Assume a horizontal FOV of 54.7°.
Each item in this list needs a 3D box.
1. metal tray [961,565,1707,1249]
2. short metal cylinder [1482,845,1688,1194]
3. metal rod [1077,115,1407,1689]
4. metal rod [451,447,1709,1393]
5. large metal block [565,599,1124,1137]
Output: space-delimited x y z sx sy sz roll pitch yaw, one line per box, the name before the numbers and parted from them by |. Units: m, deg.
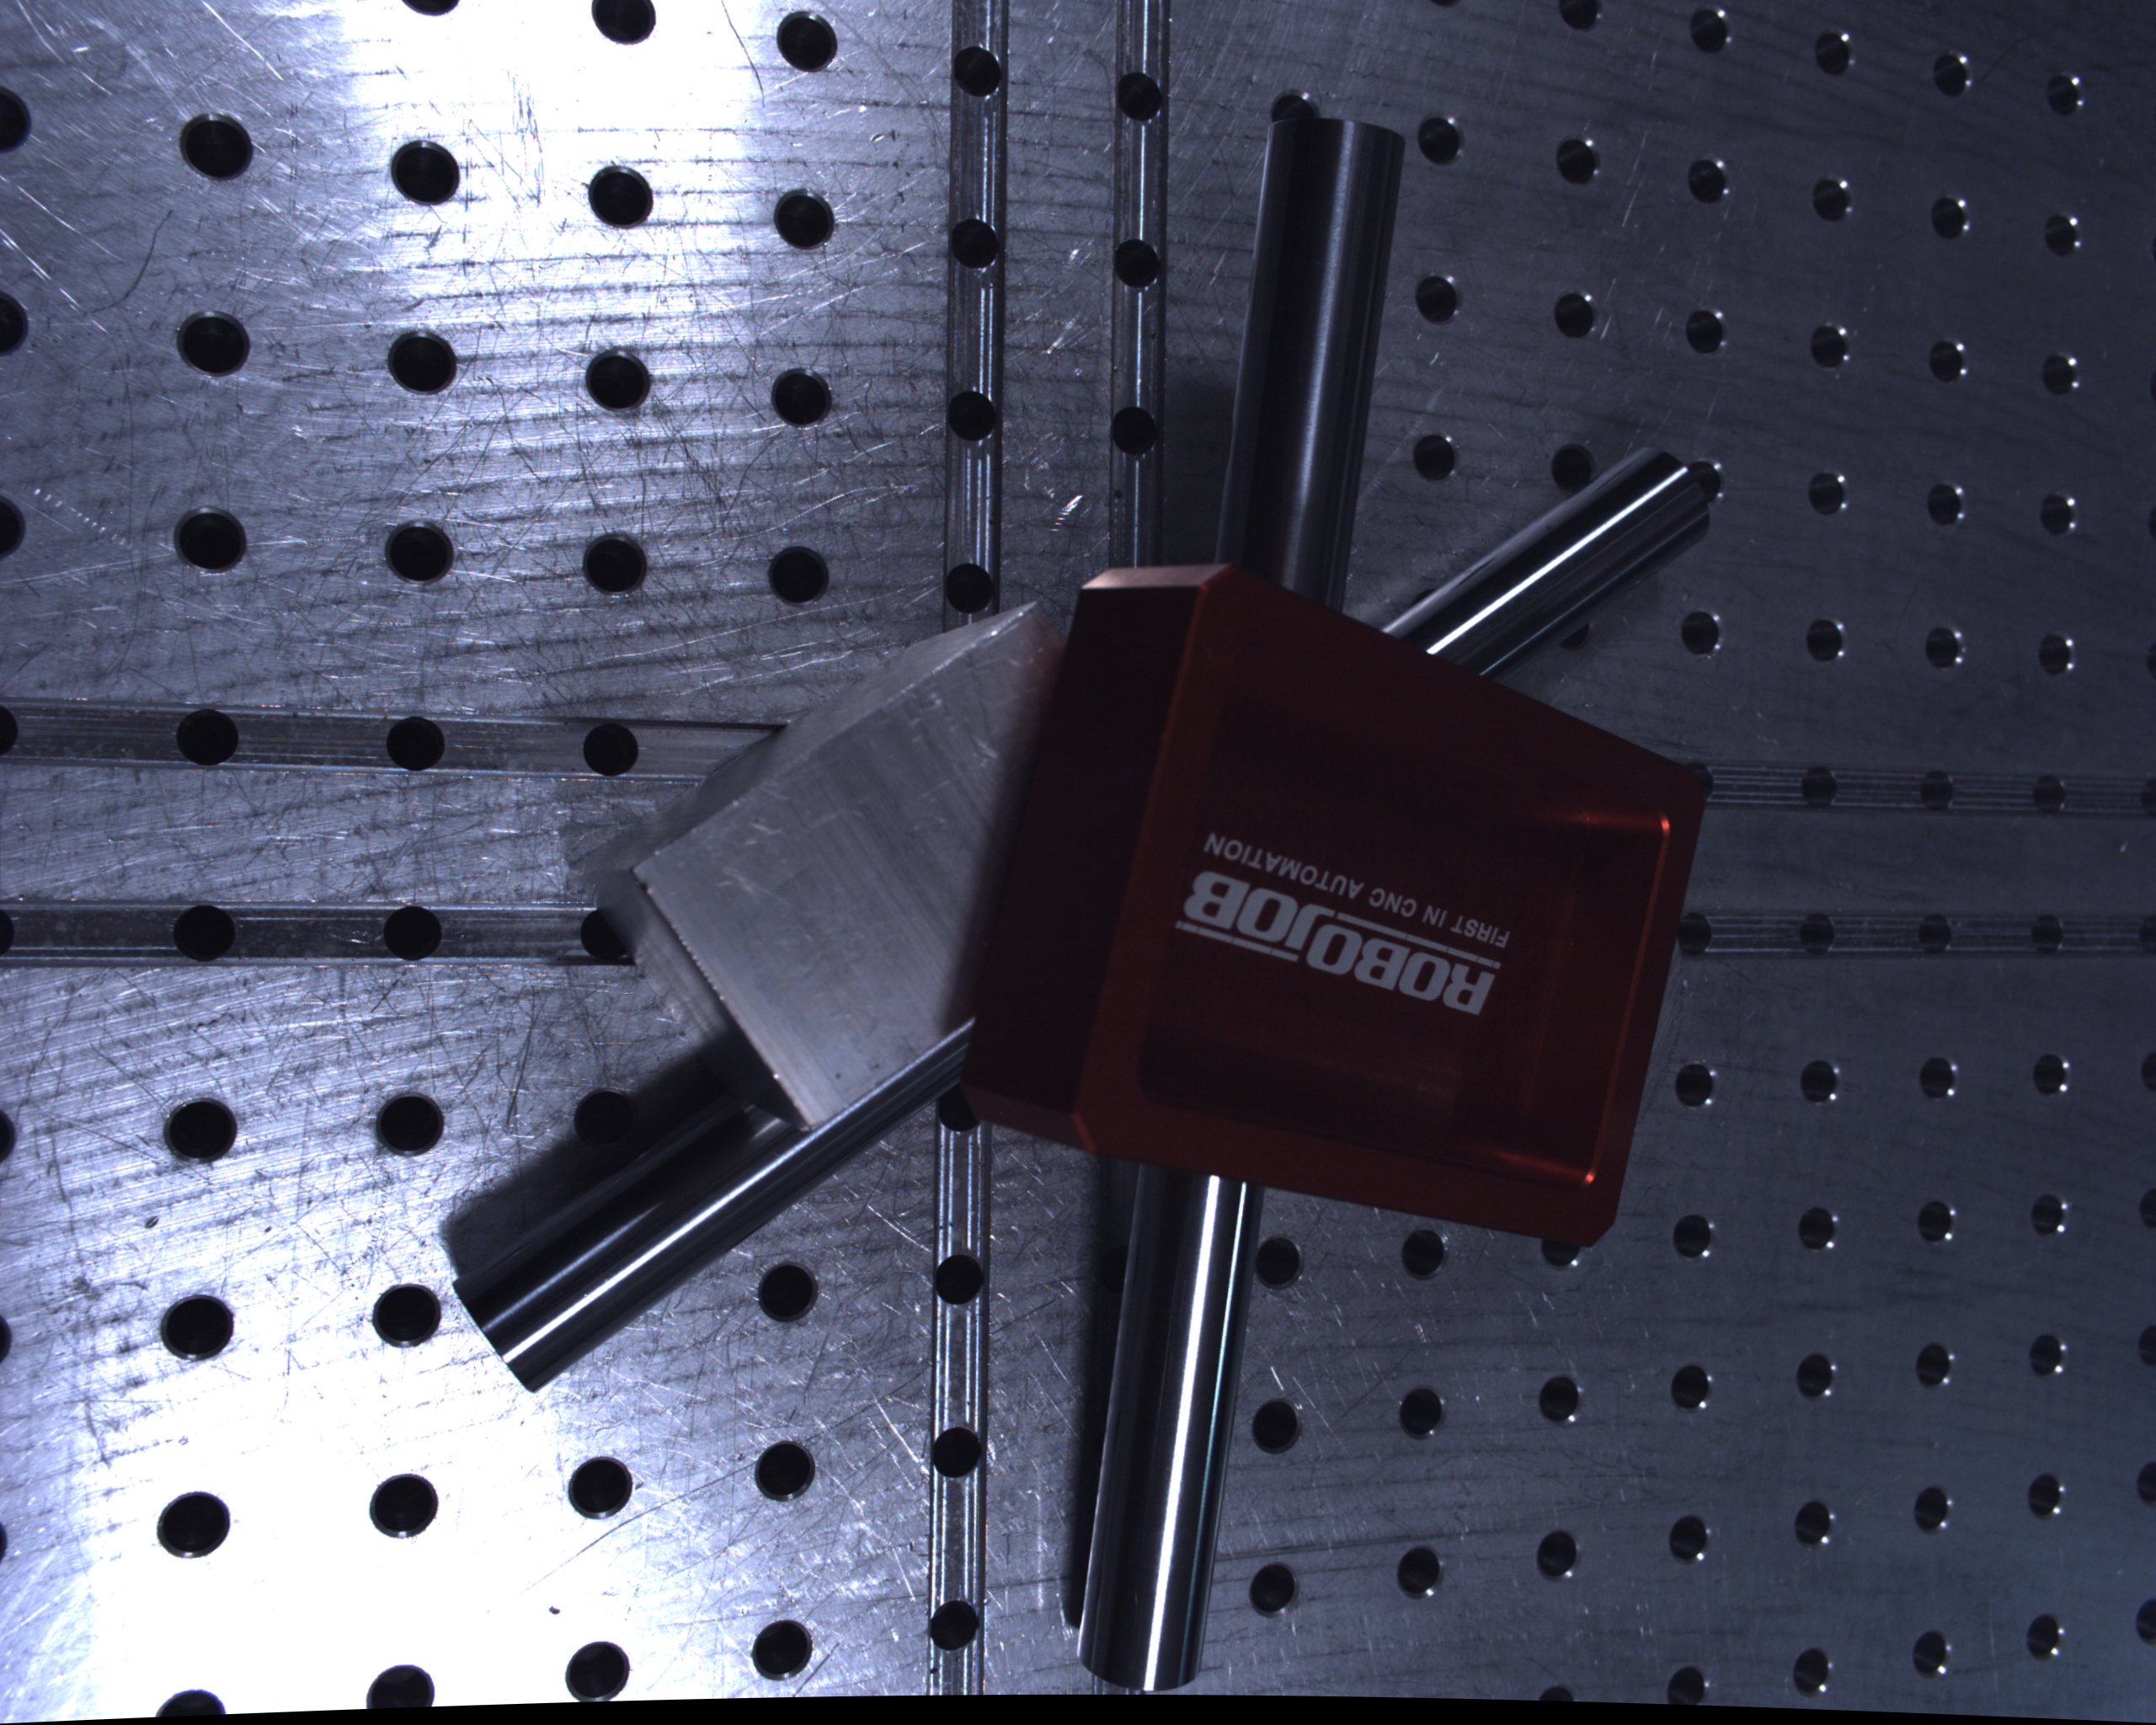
metal tray | 0.049 0.012 0.354 0.131 0.030 0.090 17 84 -38
short metal cylinder | 0.076 0.026 0.428 0.081 0.050 0.079 0 90 -21
metal rod | 0.030 0.013 0.401 0.025 0.025 0.298 4 98 -20
metal rod | 0.012 0.002 0.419 0.301 0.025 0.025 -35 102 -17
large metal block | -0.038 0.000 0.370 0.080 0.080 0.050 -36 102 -17
